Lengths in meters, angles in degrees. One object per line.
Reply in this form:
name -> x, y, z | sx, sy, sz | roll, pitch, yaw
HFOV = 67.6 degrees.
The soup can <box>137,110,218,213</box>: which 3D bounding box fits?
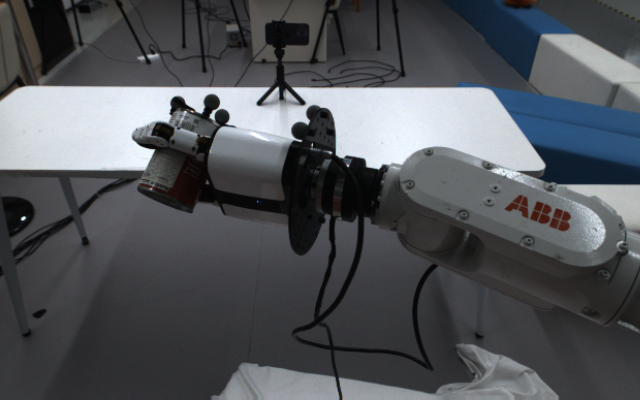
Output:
soup can -> -0.156, -0.044, 0.555 | 0.067, 0.067, 0.101 | 16, 75, 19
